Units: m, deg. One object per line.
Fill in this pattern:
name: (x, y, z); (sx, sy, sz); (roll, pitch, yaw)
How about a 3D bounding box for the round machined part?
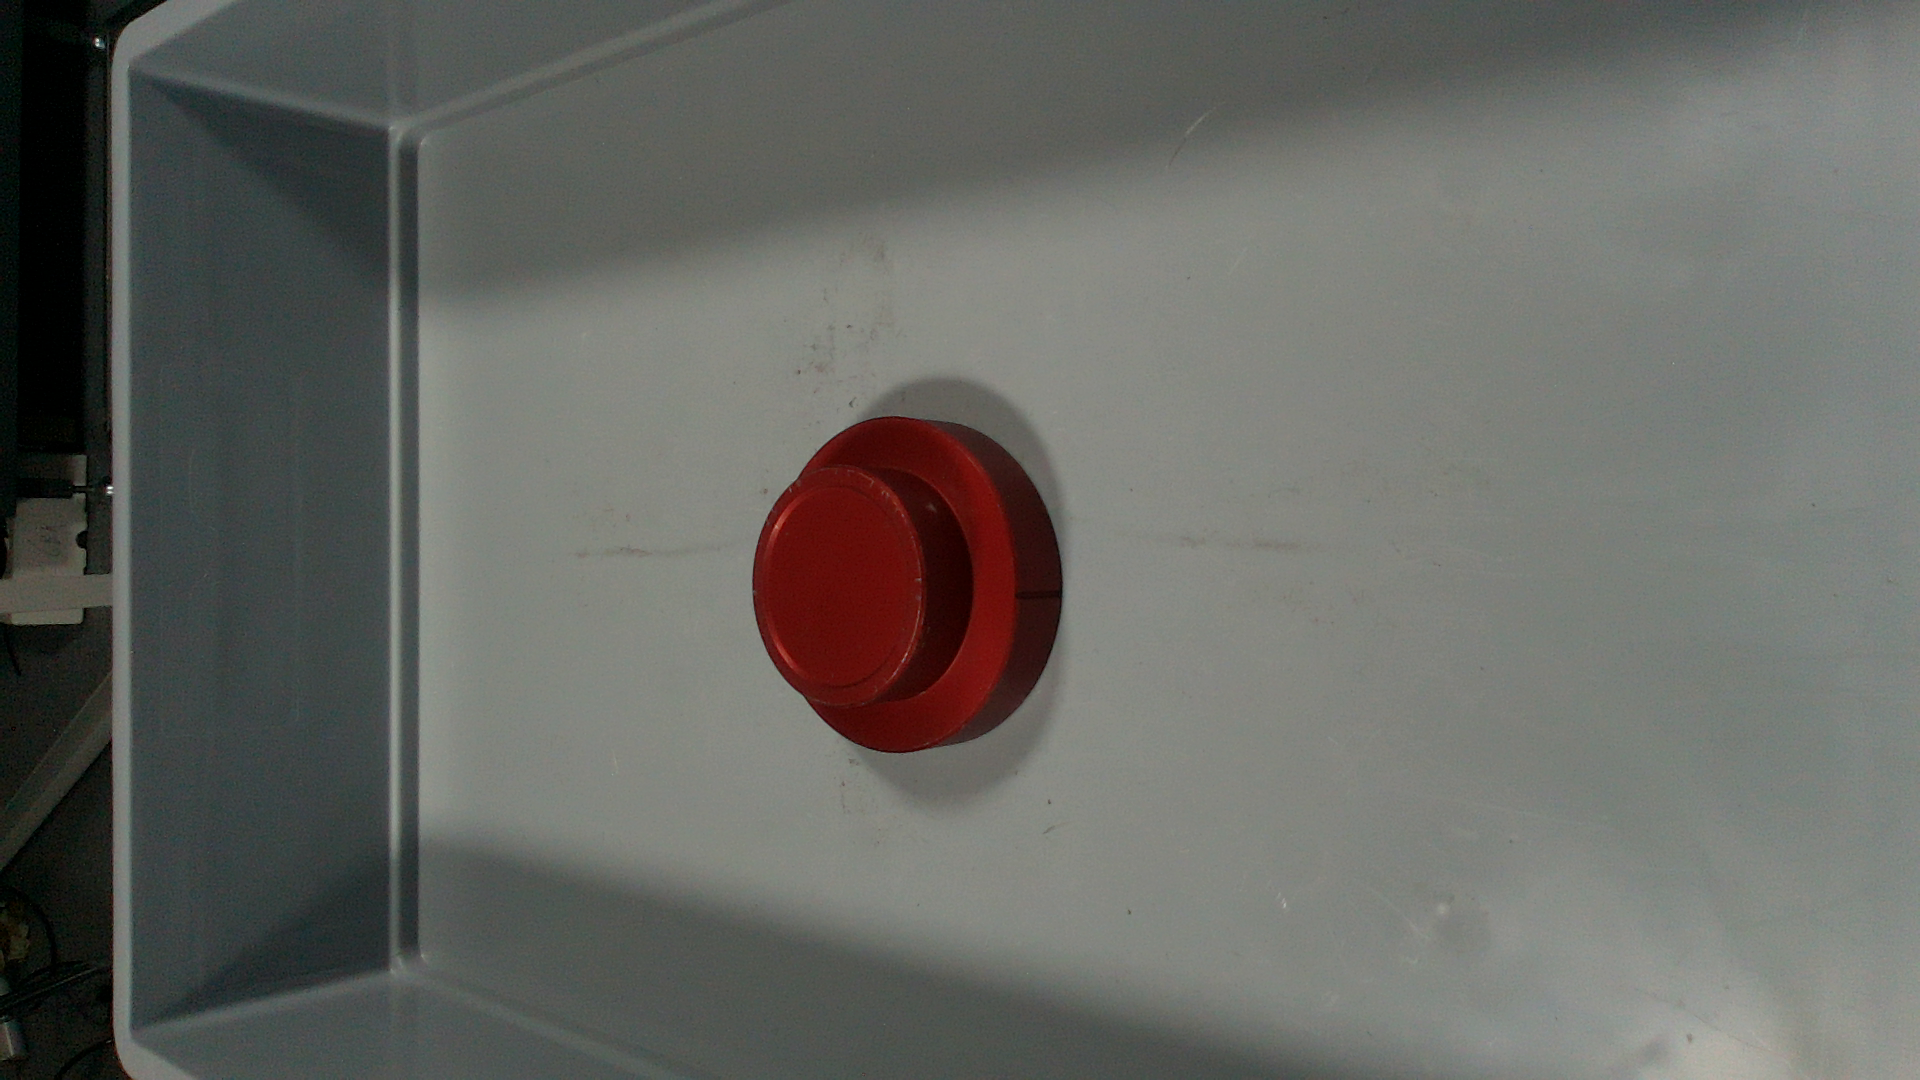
round machined part: (-0.023, 0.013, 0.399); (0.098, 0.042, 0.098); (0, 90, 40)
